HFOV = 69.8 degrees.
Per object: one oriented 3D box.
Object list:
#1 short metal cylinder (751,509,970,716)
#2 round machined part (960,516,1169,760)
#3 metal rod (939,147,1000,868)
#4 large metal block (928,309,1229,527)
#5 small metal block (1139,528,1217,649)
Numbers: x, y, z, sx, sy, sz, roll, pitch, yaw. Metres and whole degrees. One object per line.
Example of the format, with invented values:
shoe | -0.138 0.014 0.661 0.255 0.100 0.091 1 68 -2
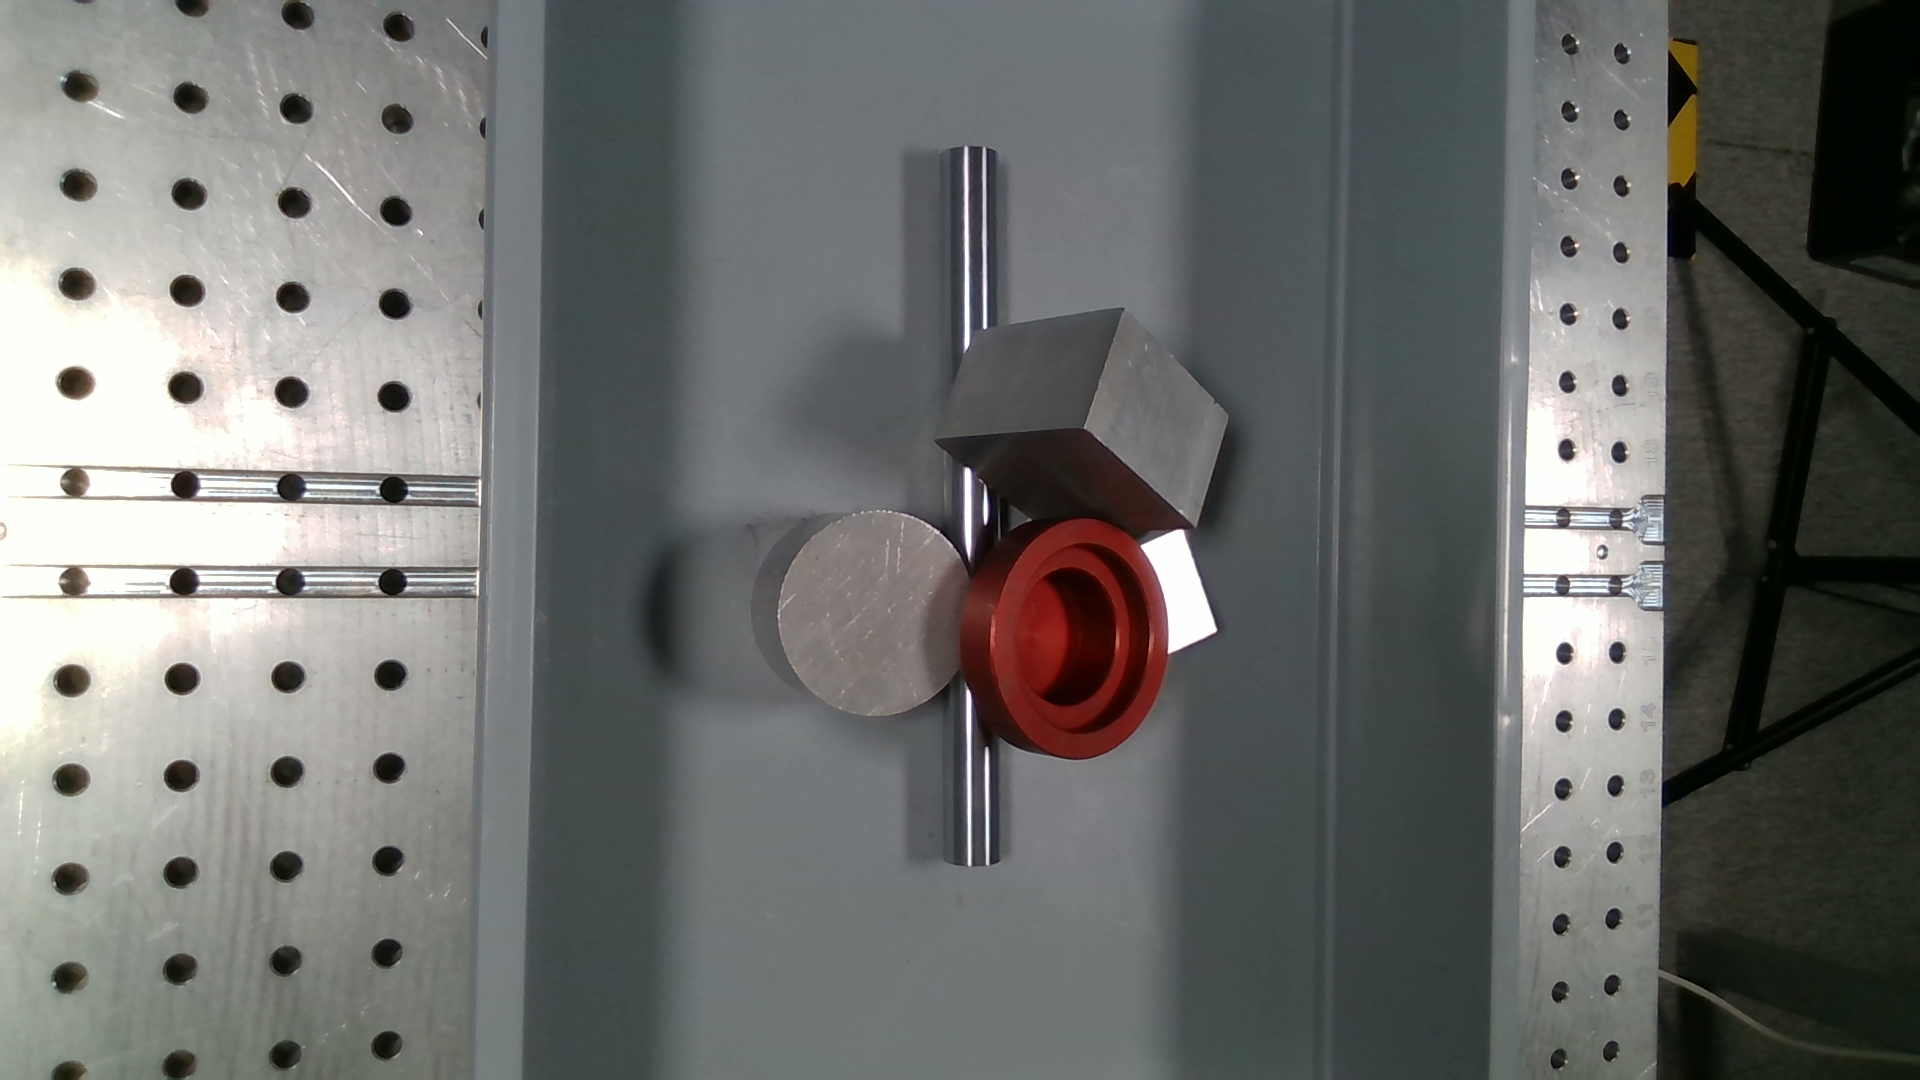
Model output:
short metal cylinder | -0.040 0.028 0.556 0.080 0.050 0.080 0 90 -20
round machined part | 0.038 0.039 0.569 0.098 0.042 0.098 0 90 -38
metal rod | 0.004 -0.013 0.584 0.025 0.025 0.300 0 90 -20
large metal block | 0.049 -0.046 0.558 0.080 0.080 0.050 36 65 -40
small metal block | 0.080 0.026 0.615 0.050 0.025 0.050 -22 98 -19
